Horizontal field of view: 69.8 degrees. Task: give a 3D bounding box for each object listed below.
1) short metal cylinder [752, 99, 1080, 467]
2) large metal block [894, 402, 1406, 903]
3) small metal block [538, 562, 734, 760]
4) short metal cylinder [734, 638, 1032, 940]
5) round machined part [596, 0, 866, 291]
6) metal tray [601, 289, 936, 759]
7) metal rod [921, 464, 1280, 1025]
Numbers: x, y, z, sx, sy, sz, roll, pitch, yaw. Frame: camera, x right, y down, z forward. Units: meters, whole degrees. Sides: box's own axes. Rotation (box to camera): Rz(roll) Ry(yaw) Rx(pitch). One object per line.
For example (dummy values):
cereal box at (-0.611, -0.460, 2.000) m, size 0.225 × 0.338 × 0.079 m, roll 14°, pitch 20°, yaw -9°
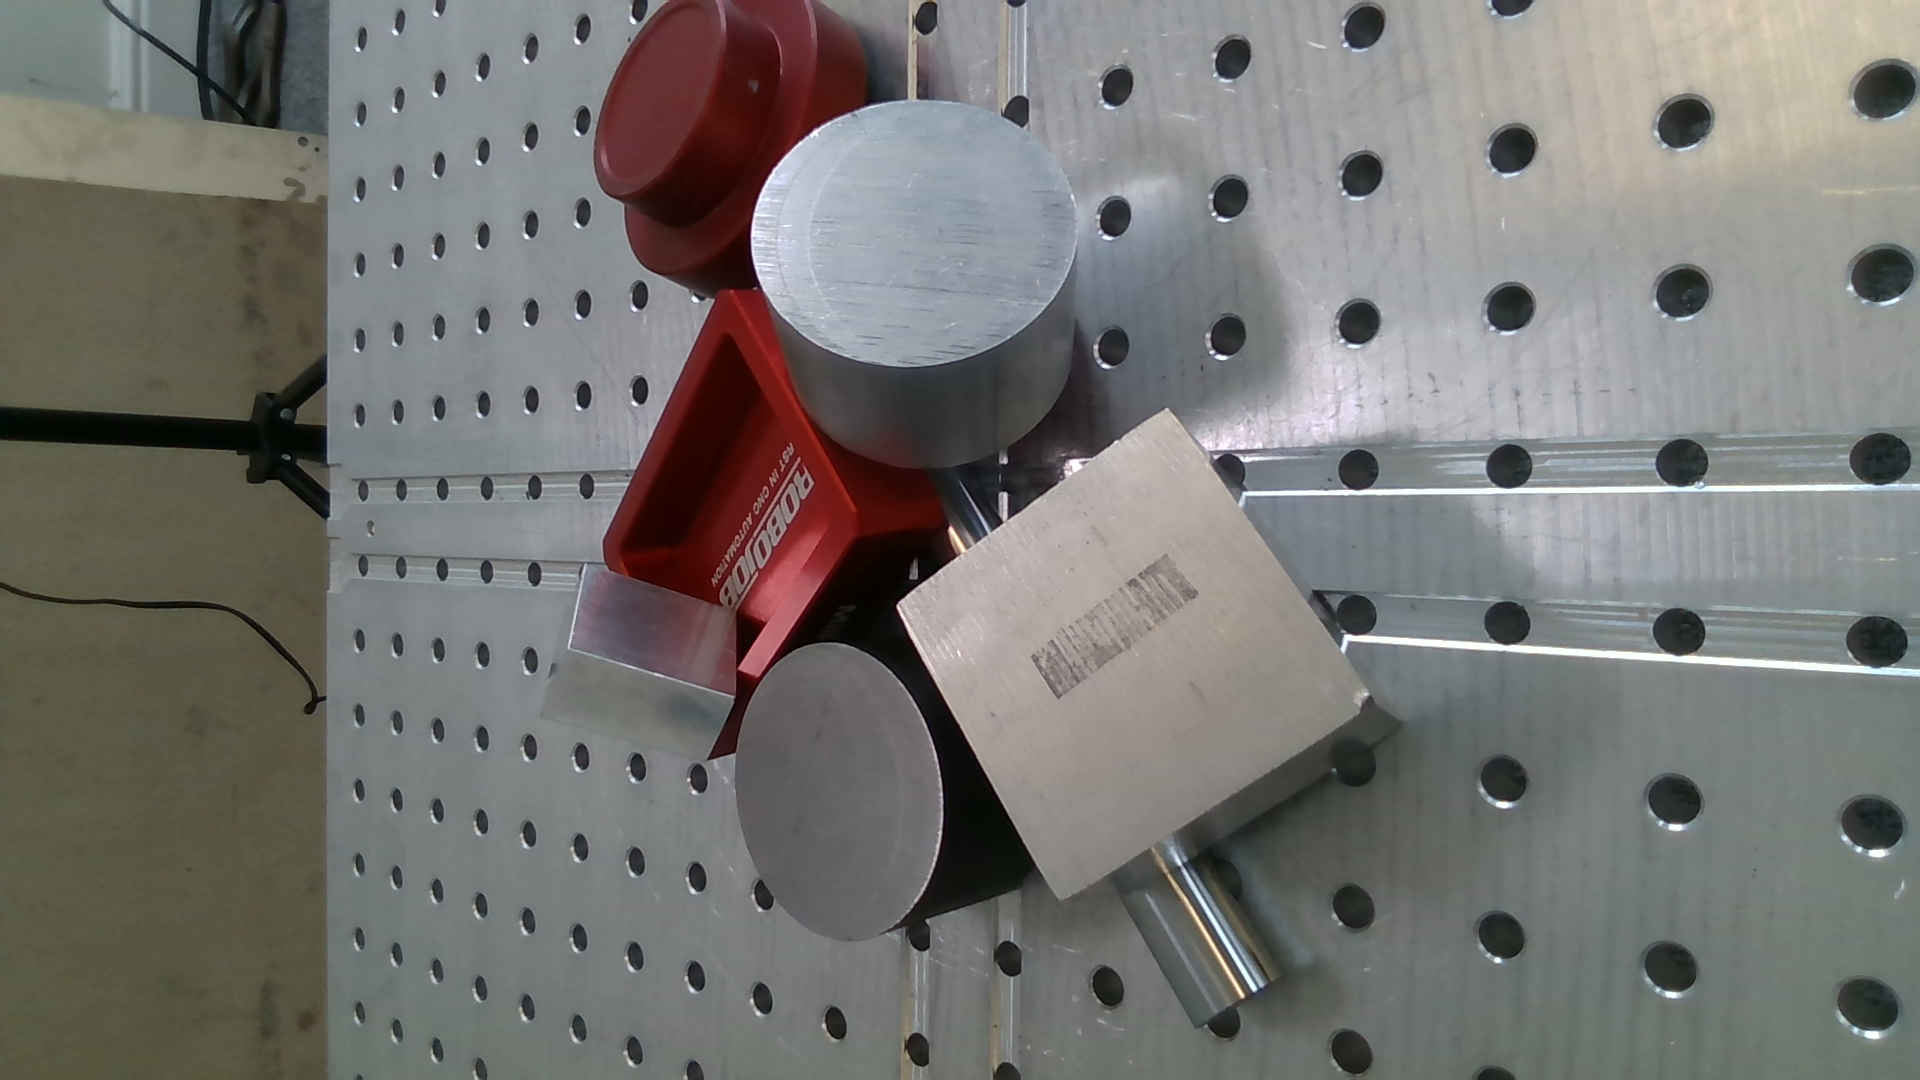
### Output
short metal cylinder at (-0.010, -0.066, 0.358) m, size 0.080 × 0.050 × 0.080 m, roll -1°, pitch 65°, yaw 3°
large metal block at (0.045, 0.029, 0.325) m, size 0.080 × 0.050 × 0.080 m, roll -36°, pitch 67°, yaw 13°
small metal block at (-0.098, 0.036, 0.422) m, size 0.050 × 0.050 × 0.025 m, roll -106°, pitch 38°, yaw -60°
short metal cylinder at (-0.019, 0.068, 0.394) m, size 0.080 × 0.050 × 0.080 m, roll 0°, pitch 91°, yaw 40°
round machined part at (-0.077, -0.129, 0.430) m, size 0.098 × 0.042 × 0.098 m, roll -20°, pitch 61°, yaw 40°
metal tray at (-0.065, -0.002, 0.427) m, size 0.090 × 0.030 × 0.130 m, roll 60°, pitch 137°, yaw 23°
metal rod at (-0.002, -0.006, 0.397) m, size 0.025 × 0.025 × 0.299 m, roll -45°, pitch 62°, yaw 31°
